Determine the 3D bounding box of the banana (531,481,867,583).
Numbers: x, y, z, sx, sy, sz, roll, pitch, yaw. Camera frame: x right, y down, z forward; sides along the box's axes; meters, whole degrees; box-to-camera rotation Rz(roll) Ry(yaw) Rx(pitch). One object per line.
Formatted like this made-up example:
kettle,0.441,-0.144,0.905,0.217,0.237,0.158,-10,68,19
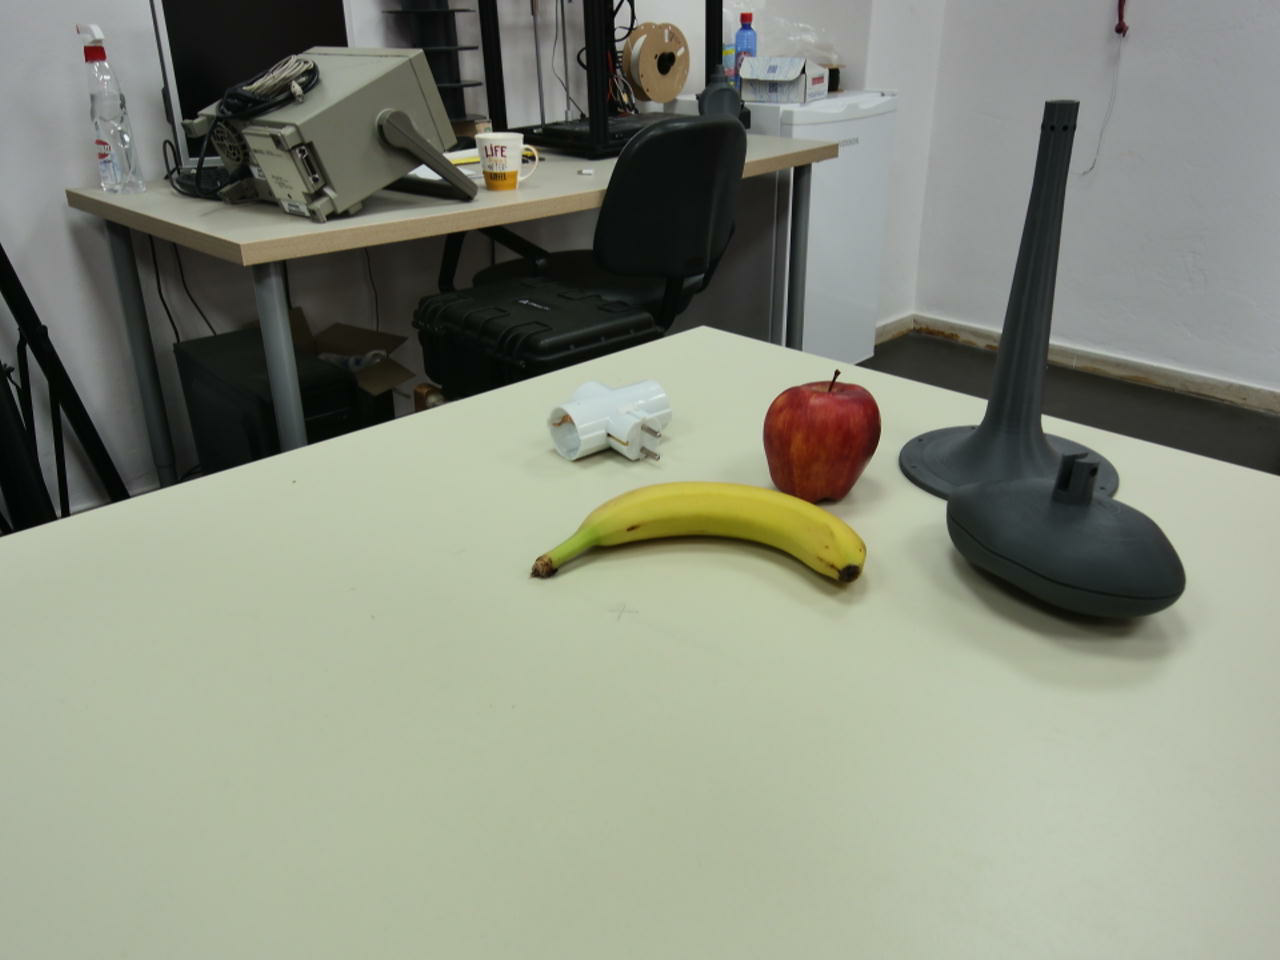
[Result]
banana,0.038,0.031,0.623,0.196,0.041,0.094,5,24,11
